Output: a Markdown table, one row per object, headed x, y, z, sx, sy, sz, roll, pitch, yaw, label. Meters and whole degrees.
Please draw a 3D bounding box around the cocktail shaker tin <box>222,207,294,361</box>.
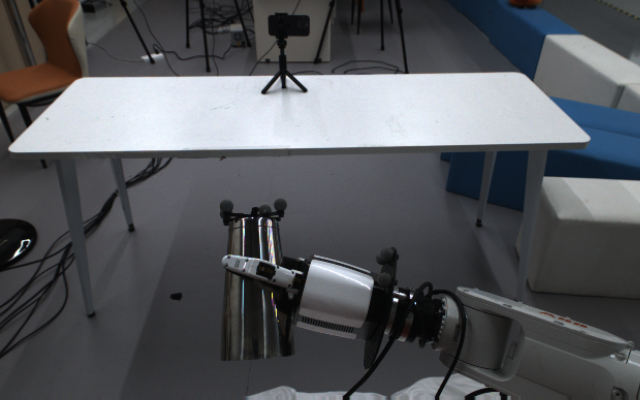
| x | y | z | sx | sy | sz | roll | pitch | yaw | label |
| --- | --- | --- | --- | --- | --- | --- | --- | --- | --- |
| -0.082 | 0.113 | 0.619 | 0.093 | 0.093 | 0.170 | -3 | 76 | -7 | cocktail shaker tin |
